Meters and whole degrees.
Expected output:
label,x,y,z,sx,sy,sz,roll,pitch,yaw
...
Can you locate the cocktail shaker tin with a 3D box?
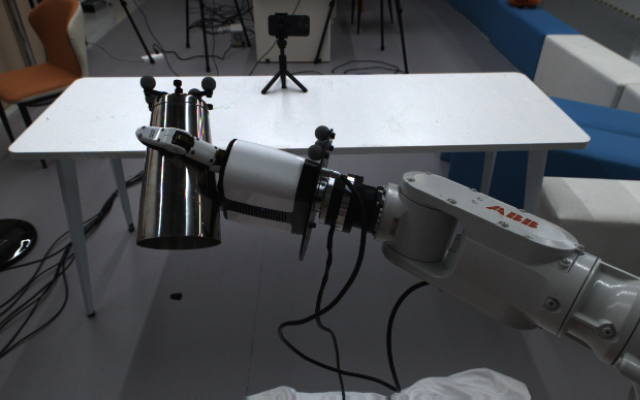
label,x,y,z,sx,sy,sz,roll,pitch,yaw
cocktail shaker tin,-0.164,-0.032,0.565,0.093,0.093,0.170,-3,76,-7
